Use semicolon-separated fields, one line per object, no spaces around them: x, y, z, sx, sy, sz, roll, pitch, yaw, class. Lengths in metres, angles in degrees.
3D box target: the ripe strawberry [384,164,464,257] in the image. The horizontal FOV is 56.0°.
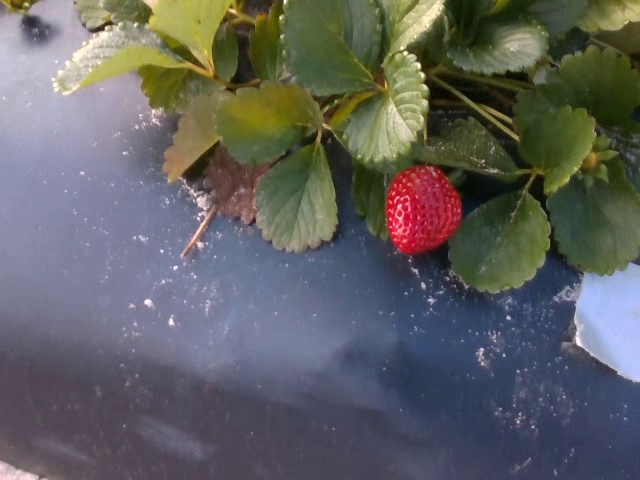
0.021;-0.005;0.128;0.018;0.023;0.021;9;-38;27;ripe strawberry
